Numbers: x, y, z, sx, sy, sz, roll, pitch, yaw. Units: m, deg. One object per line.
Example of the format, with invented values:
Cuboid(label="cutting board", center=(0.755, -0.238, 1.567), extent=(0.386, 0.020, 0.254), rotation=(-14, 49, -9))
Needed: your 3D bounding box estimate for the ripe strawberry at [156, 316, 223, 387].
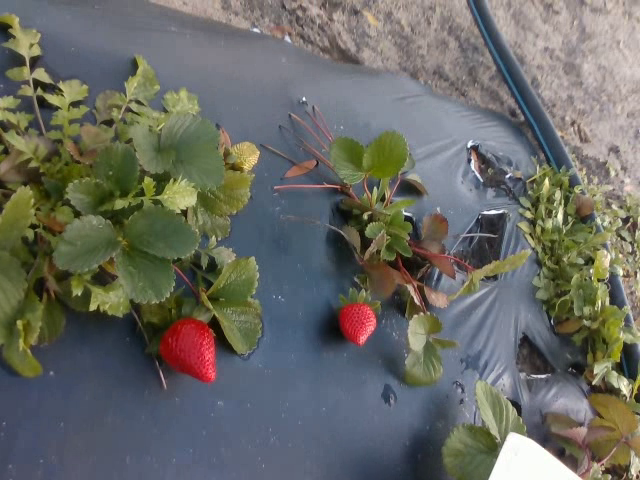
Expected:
Cuboid(label="ripe strawberry", center=(-0.086, 0.080, 0.410), extent=(0.051, 0.046, 0.050), rotation=(46, -2, -41))

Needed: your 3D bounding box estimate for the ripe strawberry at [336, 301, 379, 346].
Cuboid(label="ripe strawberry", center=(0.032, 0.077, 0.514), extent=(0.042, 0.044, 0.052), rotation=(-13, 32, 10))
